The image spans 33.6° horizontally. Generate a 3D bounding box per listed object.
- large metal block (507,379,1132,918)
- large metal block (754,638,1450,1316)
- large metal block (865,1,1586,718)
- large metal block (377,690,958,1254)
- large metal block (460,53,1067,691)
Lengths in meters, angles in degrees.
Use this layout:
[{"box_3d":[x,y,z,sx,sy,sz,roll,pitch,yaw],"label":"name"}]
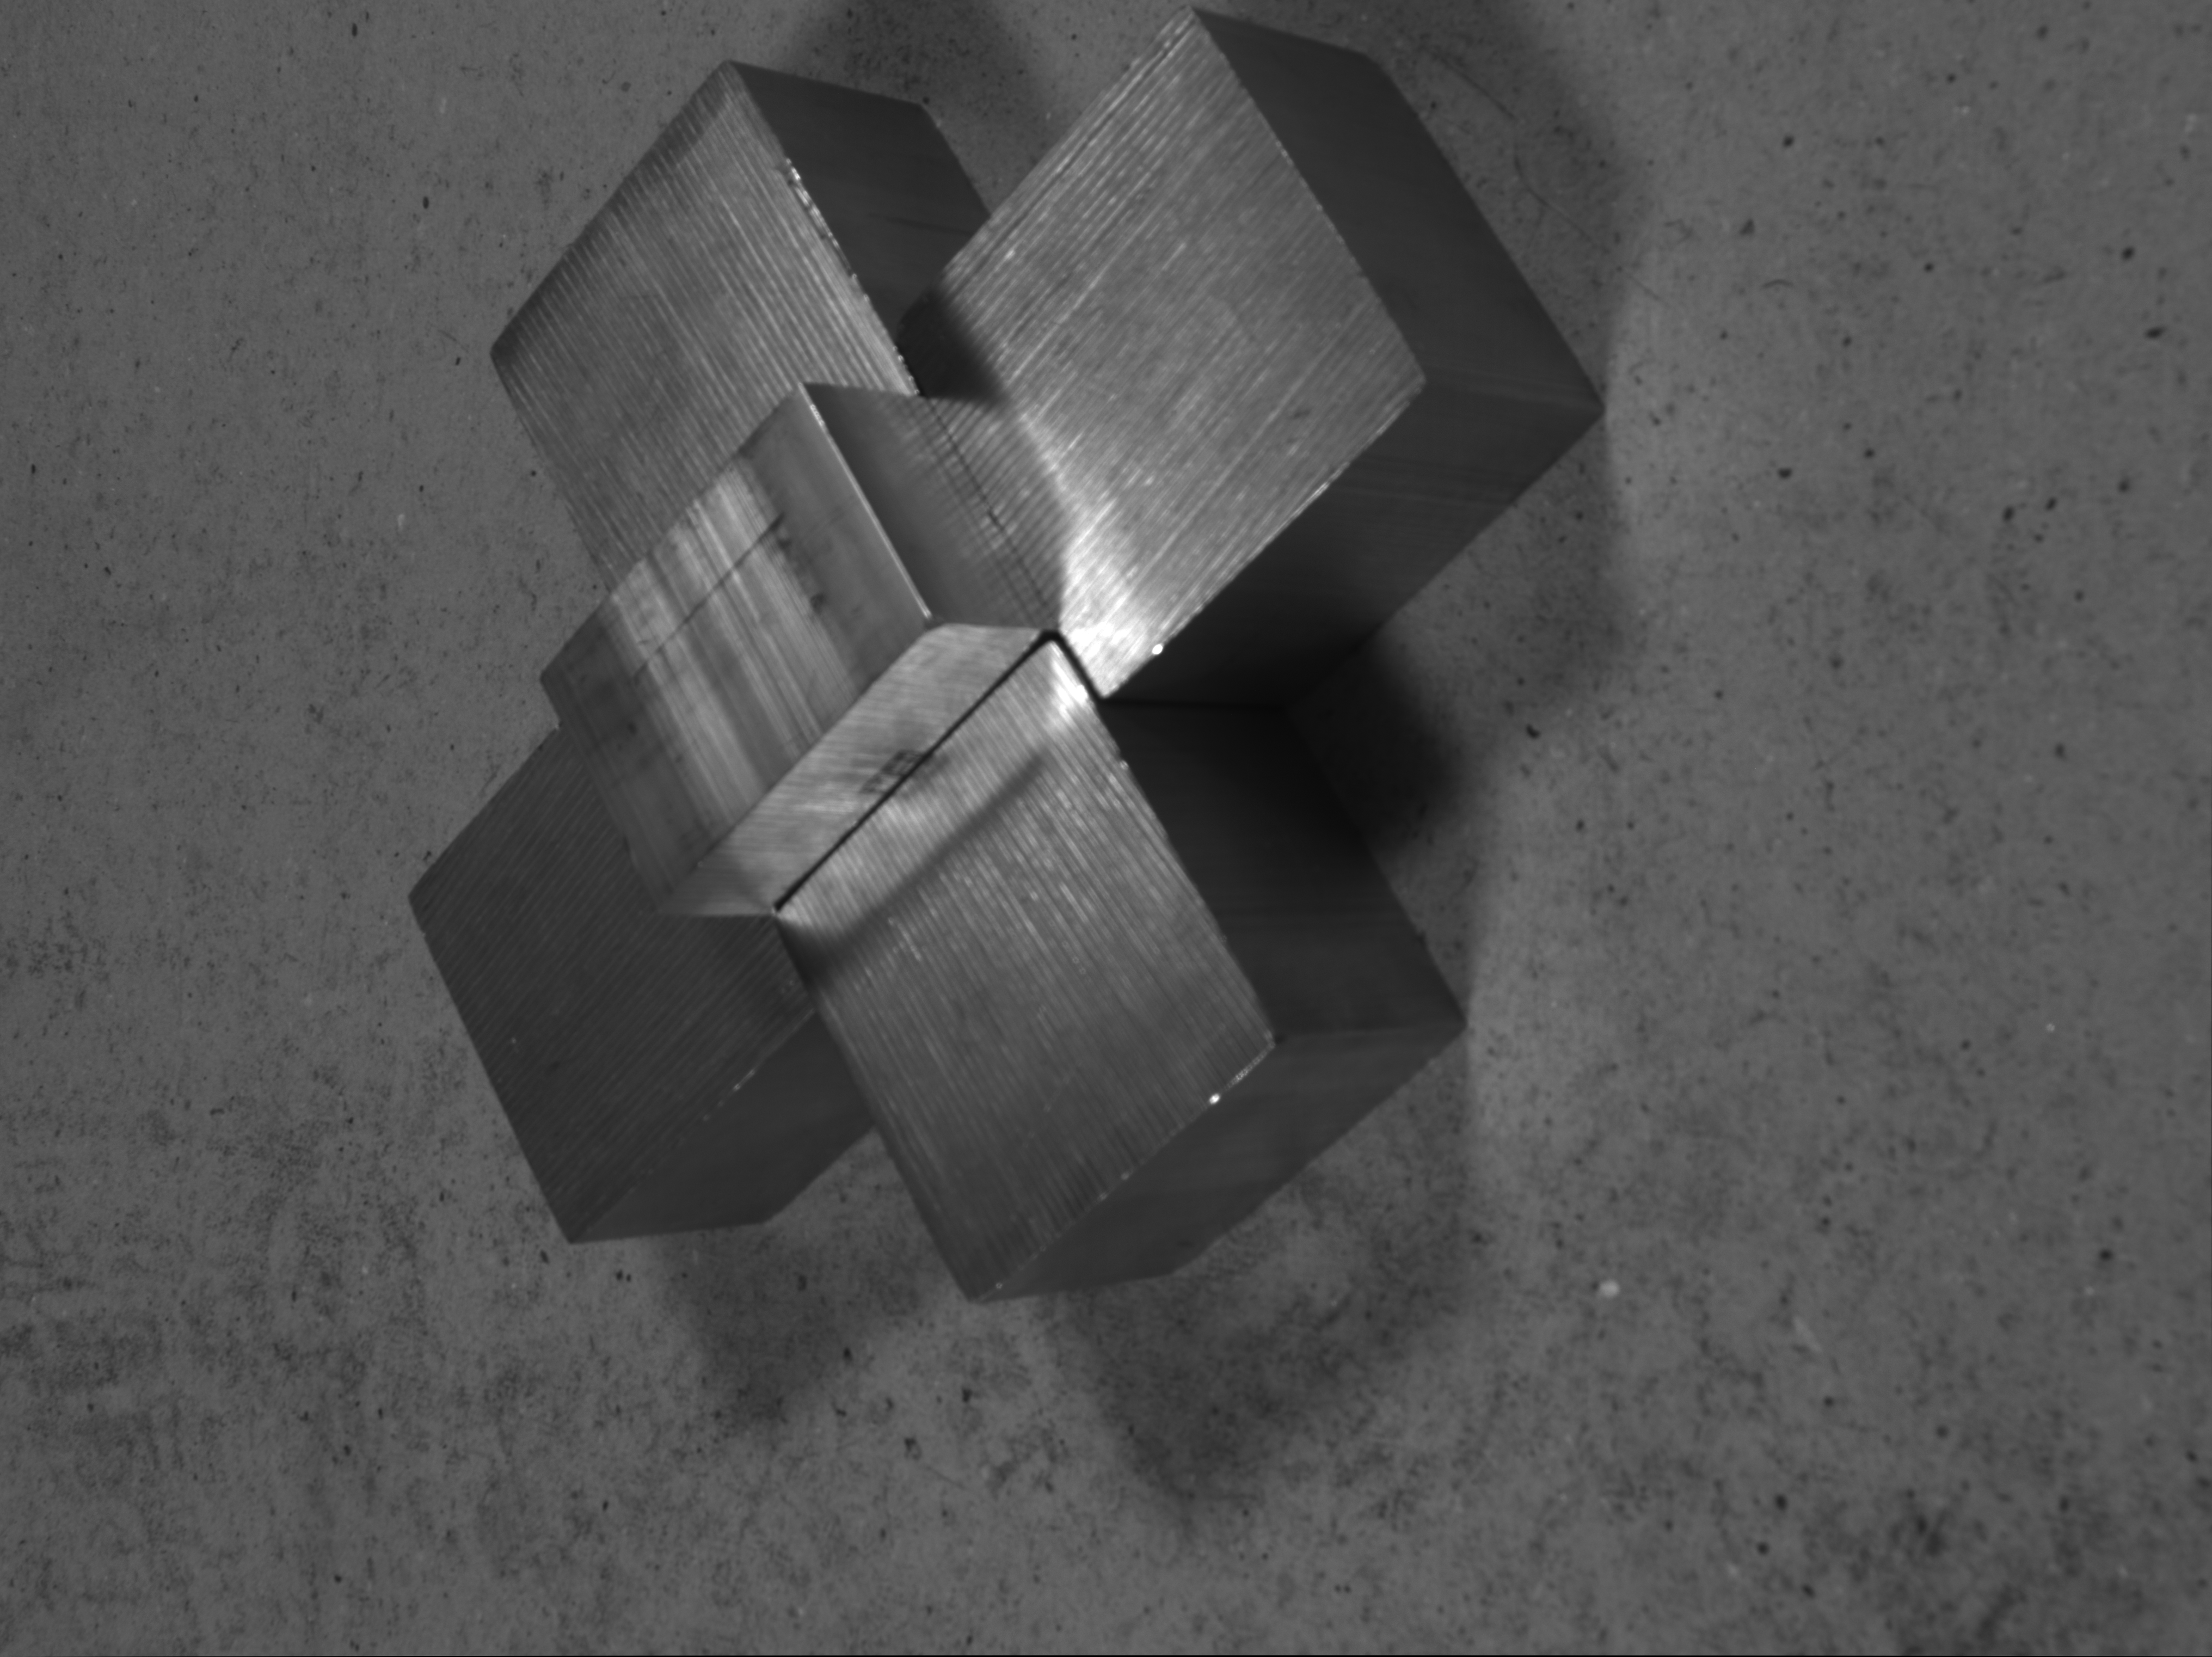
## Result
[{"box_3d":[-0.042,-0.029,0.635,0.080,0.080,0.050,-44,64,31],"label":"large metal block"},{"box_3d":[-0.002,0.025,0.621,0.080,0.050,0.080,-44,64,31],"label":"large metal block"},{"box_3d":[0.018,-0.075,0.605,0.080,0.050,0.080,-44,64,31],"label":"large metal block"},{"box_3d":[-0.081,0.022,0.685,0.080,0.050,0.080,-44,64,31],"label":"large metal block"},{"box_3d":[-0.062,-0.081,0.670,0.080,0.050,0.080,-44,64,31],"label":"large metal block"}]
